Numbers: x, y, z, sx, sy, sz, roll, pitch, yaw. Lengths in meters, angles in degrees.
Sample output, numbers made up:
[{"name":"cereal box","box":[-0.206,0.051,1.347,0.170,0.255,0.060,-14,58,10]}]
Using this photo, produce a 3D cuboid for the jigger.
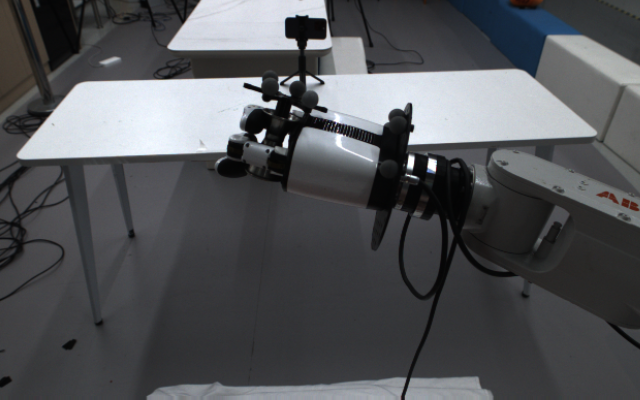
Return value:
[{"name":"jigger","box":[-0.050,-0.058,0.515,0.043,0.071,0.043,18,17,-6]}]
